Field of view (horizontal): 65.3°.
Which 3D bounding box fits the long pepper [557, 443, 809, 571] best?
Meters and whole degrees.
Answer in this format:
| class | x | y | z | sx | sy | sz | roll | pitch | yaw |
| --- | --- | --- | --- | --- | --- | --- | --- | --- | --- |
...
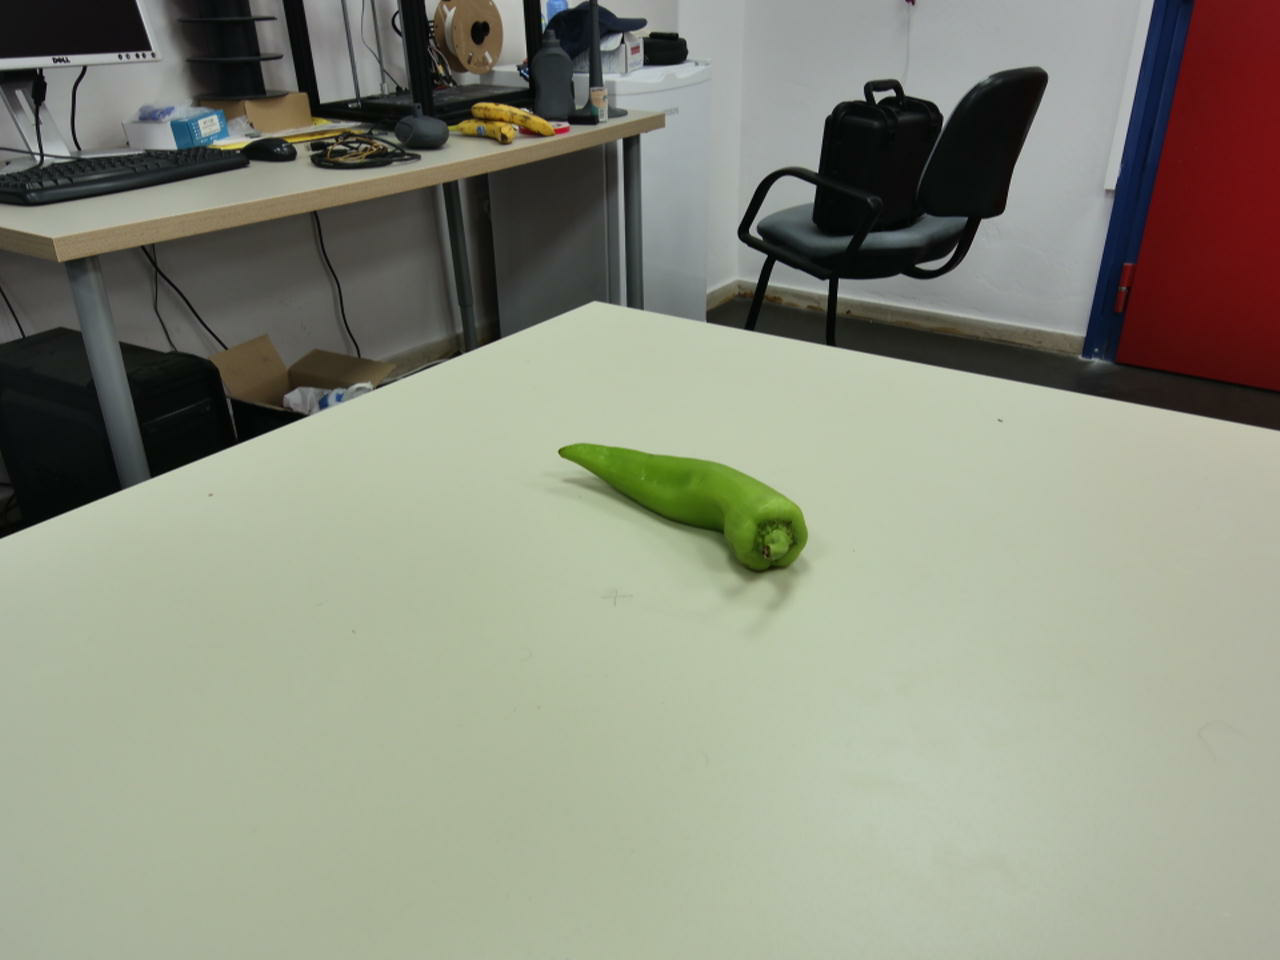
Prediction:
| class | x | y | z | sx | sy | sz | roll | pitch | yaw |
| --- | --- | --- | --- | --- | --- | --- | --- | --- | --- |
| long pepper | 0.032 | 0.008 | 0.626 | 0.065 | 0.045 | 0.205 | -18 | 31 | -34 |
